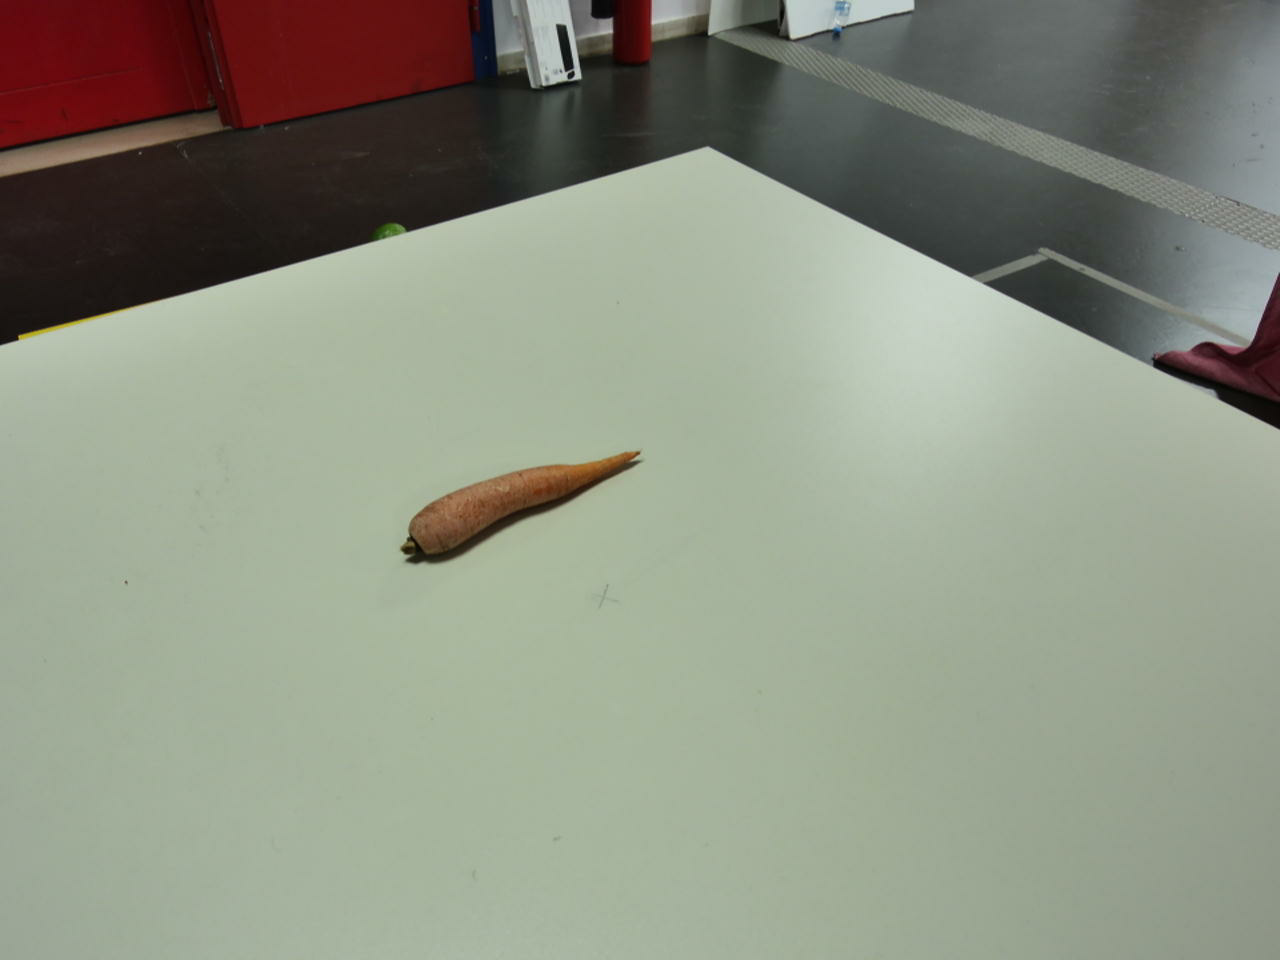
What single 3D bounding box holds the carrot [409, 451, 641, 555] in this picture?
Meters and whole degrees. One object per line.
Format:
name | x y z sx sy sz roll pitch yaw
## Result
carrot | -0.068 0.005 0.610 0.163 0.029 0.031 -24 45 -28
